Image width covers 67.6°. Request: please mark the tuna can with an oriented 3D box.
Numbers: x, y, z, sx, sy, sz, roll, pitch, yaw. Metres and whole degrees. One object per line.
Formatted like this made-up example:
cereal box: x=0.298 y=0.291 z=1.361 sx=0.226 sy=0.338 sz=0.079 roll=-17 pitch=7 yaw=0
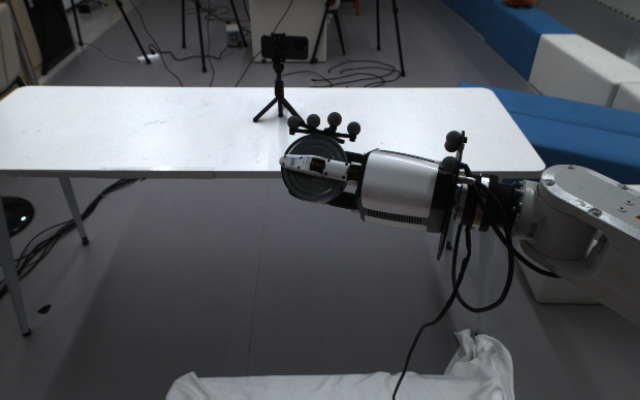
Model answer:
tuna can: x=-0.005 y=-0.041 z=0.619 sx=0.085 sy=0.085 sz=0.034 roll=11 pitch=-7 yaw=13
